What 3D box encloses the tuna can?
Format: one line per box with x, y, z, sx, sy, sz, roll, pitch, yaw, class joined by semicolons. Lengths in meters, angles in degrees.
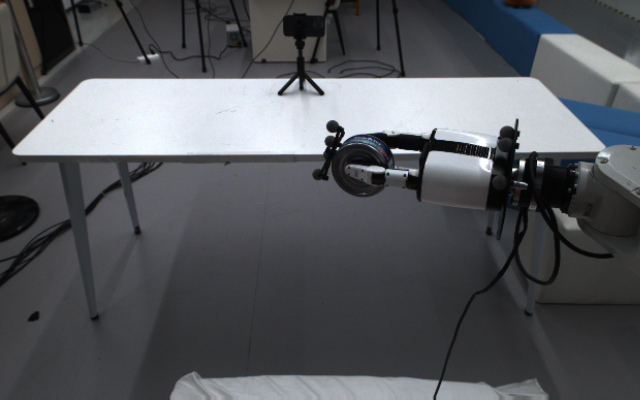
0.062;-0.050;0.688;0.085;0.085;0.034;12;30;14;tuna can
